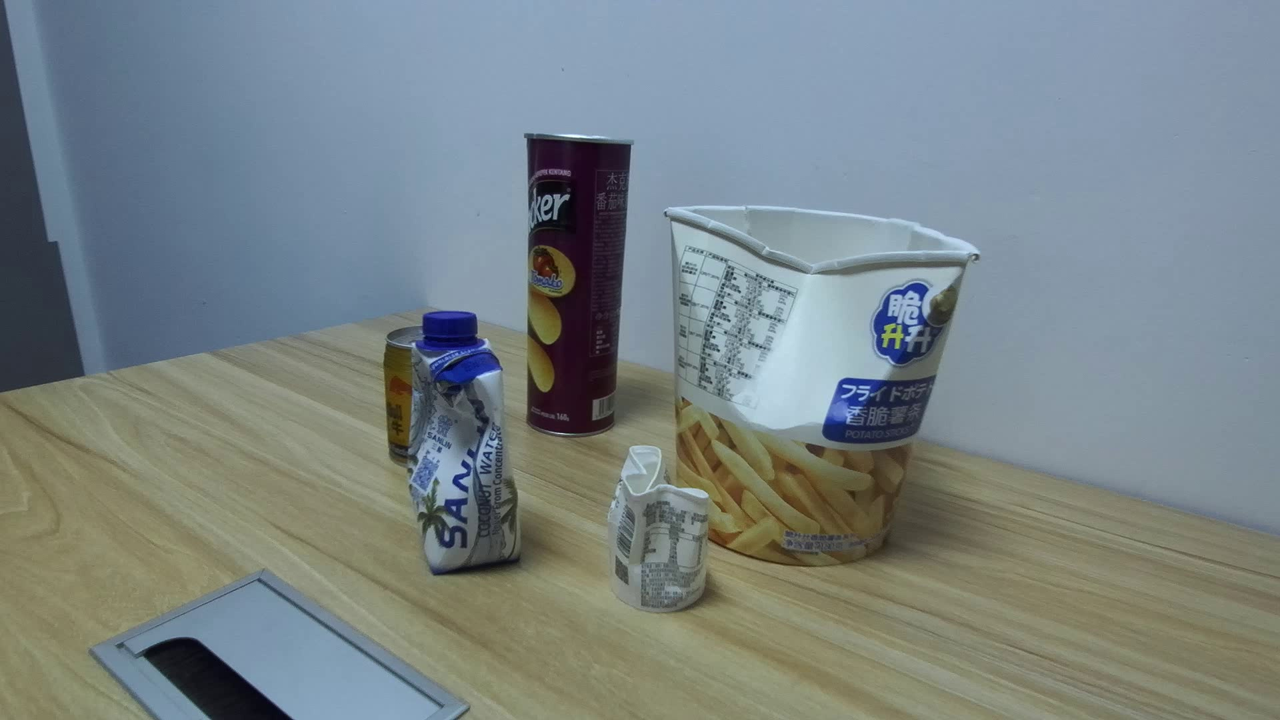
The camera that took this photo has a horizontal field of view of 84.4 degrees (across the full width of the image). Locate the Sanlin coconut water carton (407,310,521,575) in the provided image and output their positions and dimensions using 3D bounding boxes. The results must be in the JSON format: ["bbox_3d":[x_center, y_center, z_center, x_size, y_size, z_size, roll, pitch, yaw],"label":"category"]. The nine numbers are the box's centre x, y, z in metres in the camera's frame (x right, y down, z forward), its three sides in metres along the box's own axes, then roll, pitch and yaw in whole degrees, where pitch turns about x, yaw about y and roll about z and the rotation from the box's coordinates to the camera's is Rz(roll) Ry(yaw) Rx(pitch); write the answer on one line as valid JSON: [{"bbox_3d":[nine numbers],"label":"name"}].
[{"bbox_3d":[-0.101,0.048,0.391,0.057,0.145,0.068,-11,28,-19],"label":"Sanlin coconut water carton"}]

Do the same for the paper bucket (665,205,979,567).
[{"bbox_3d":[0.092,0.007,0.459,0.162,0.202,0.169,3,16,3],"label":"paper bucket"}]

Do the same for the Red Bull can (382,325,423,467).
[{"bbox_3d":[-0.156,0.026,0.528,0.068,0.093,0.068,3,16,-1],"label":"Red Bull can"}]

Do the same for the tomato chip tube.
[{"bbox_3d":[-0.053,-0.059,0.577,0.077,0.234,0.080,-3,18,-20],"label":"tomato chip tube"}]

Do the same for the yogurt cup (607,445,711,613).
[{"bbox_3d":[0.010,0.091,0.385,0.055,0.072,0.055,2,20,5],"label":"yogurt cup"}]
